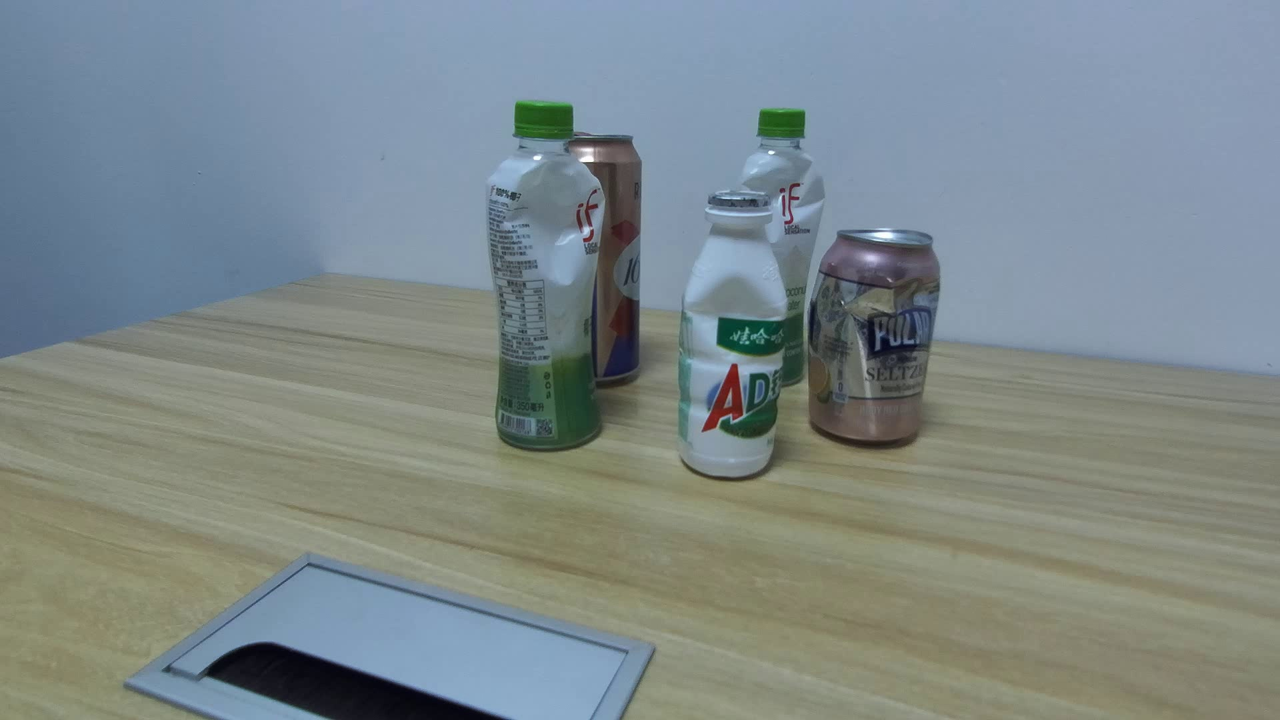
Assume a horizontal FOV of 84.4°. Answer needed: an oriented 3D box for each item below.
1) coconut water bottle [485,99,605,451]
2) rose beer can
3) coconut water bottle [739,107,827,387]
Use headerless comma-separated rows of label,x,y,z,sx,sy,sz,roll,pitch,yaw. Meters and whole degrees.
coconut water bottle,-0.052,-0.047,0.401,0.069,0.187,0.069,2,17,0
rose beer can,-0.032,-0.068,0.504,0.068,0.169,0.068,1,12,0
coconut water bottle,0.091,-0.077,0.497,0.067,0.187,0.067,2,15,0
